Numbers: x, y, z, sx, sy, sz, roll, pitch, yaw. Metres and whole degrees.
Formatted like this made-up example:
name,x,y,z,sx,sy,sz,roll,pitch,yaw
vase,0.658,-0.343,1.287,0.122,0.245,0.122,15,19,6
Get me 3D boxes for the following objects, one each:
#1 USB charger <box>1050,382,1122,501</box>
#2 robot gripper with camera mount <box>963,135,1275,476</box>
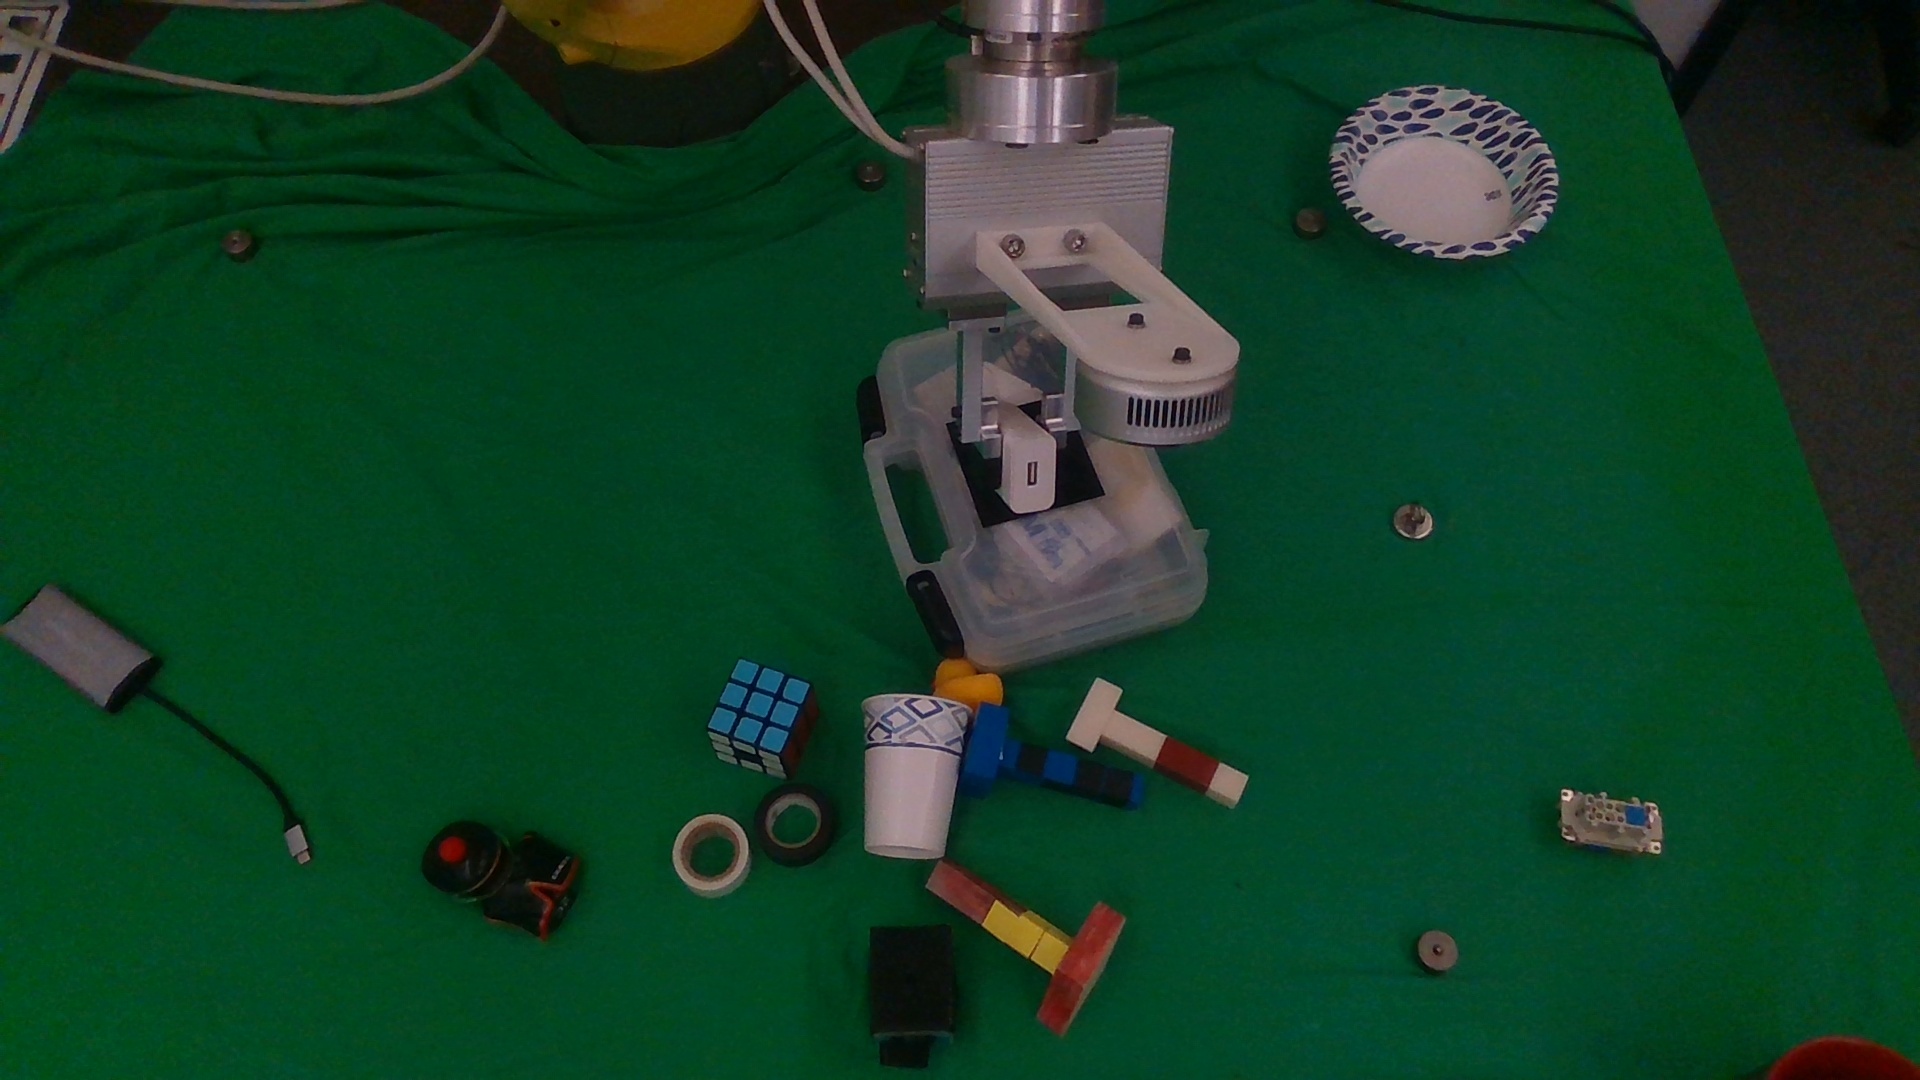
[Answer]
name,x,y,z,sx,sy,sz,roll,pitch,yaw
USB charger,0.057,-0.054,0.706,0.029,0.044,0.076,-6,25,-14
robot gripper with camera mount,0.078,-0.066,0.598,0.119,0.158,0.193,-5,34,-12
